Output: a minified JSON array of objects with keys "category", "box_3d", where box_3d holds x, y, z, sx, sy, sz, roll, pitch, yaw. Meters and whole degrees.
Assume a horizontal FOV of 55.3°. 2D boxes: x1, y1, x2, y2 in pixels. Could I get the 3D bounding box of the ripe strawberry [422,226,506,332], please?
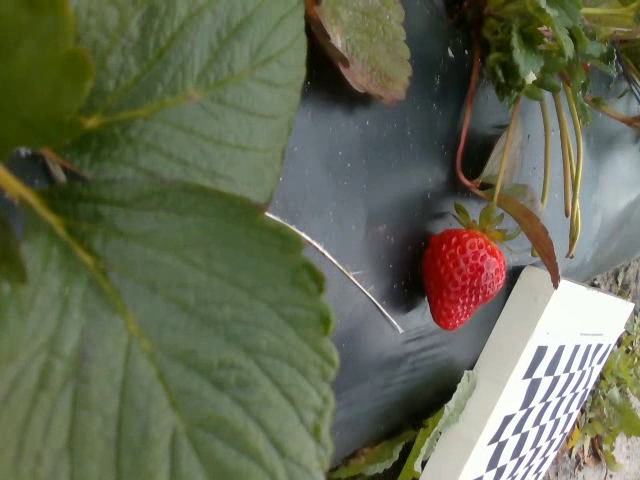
[{"category":"ripe strawberry","box_3d":[0.040,0.012,0.170,0.022,0.033,0.028,25,-8,39]}]
